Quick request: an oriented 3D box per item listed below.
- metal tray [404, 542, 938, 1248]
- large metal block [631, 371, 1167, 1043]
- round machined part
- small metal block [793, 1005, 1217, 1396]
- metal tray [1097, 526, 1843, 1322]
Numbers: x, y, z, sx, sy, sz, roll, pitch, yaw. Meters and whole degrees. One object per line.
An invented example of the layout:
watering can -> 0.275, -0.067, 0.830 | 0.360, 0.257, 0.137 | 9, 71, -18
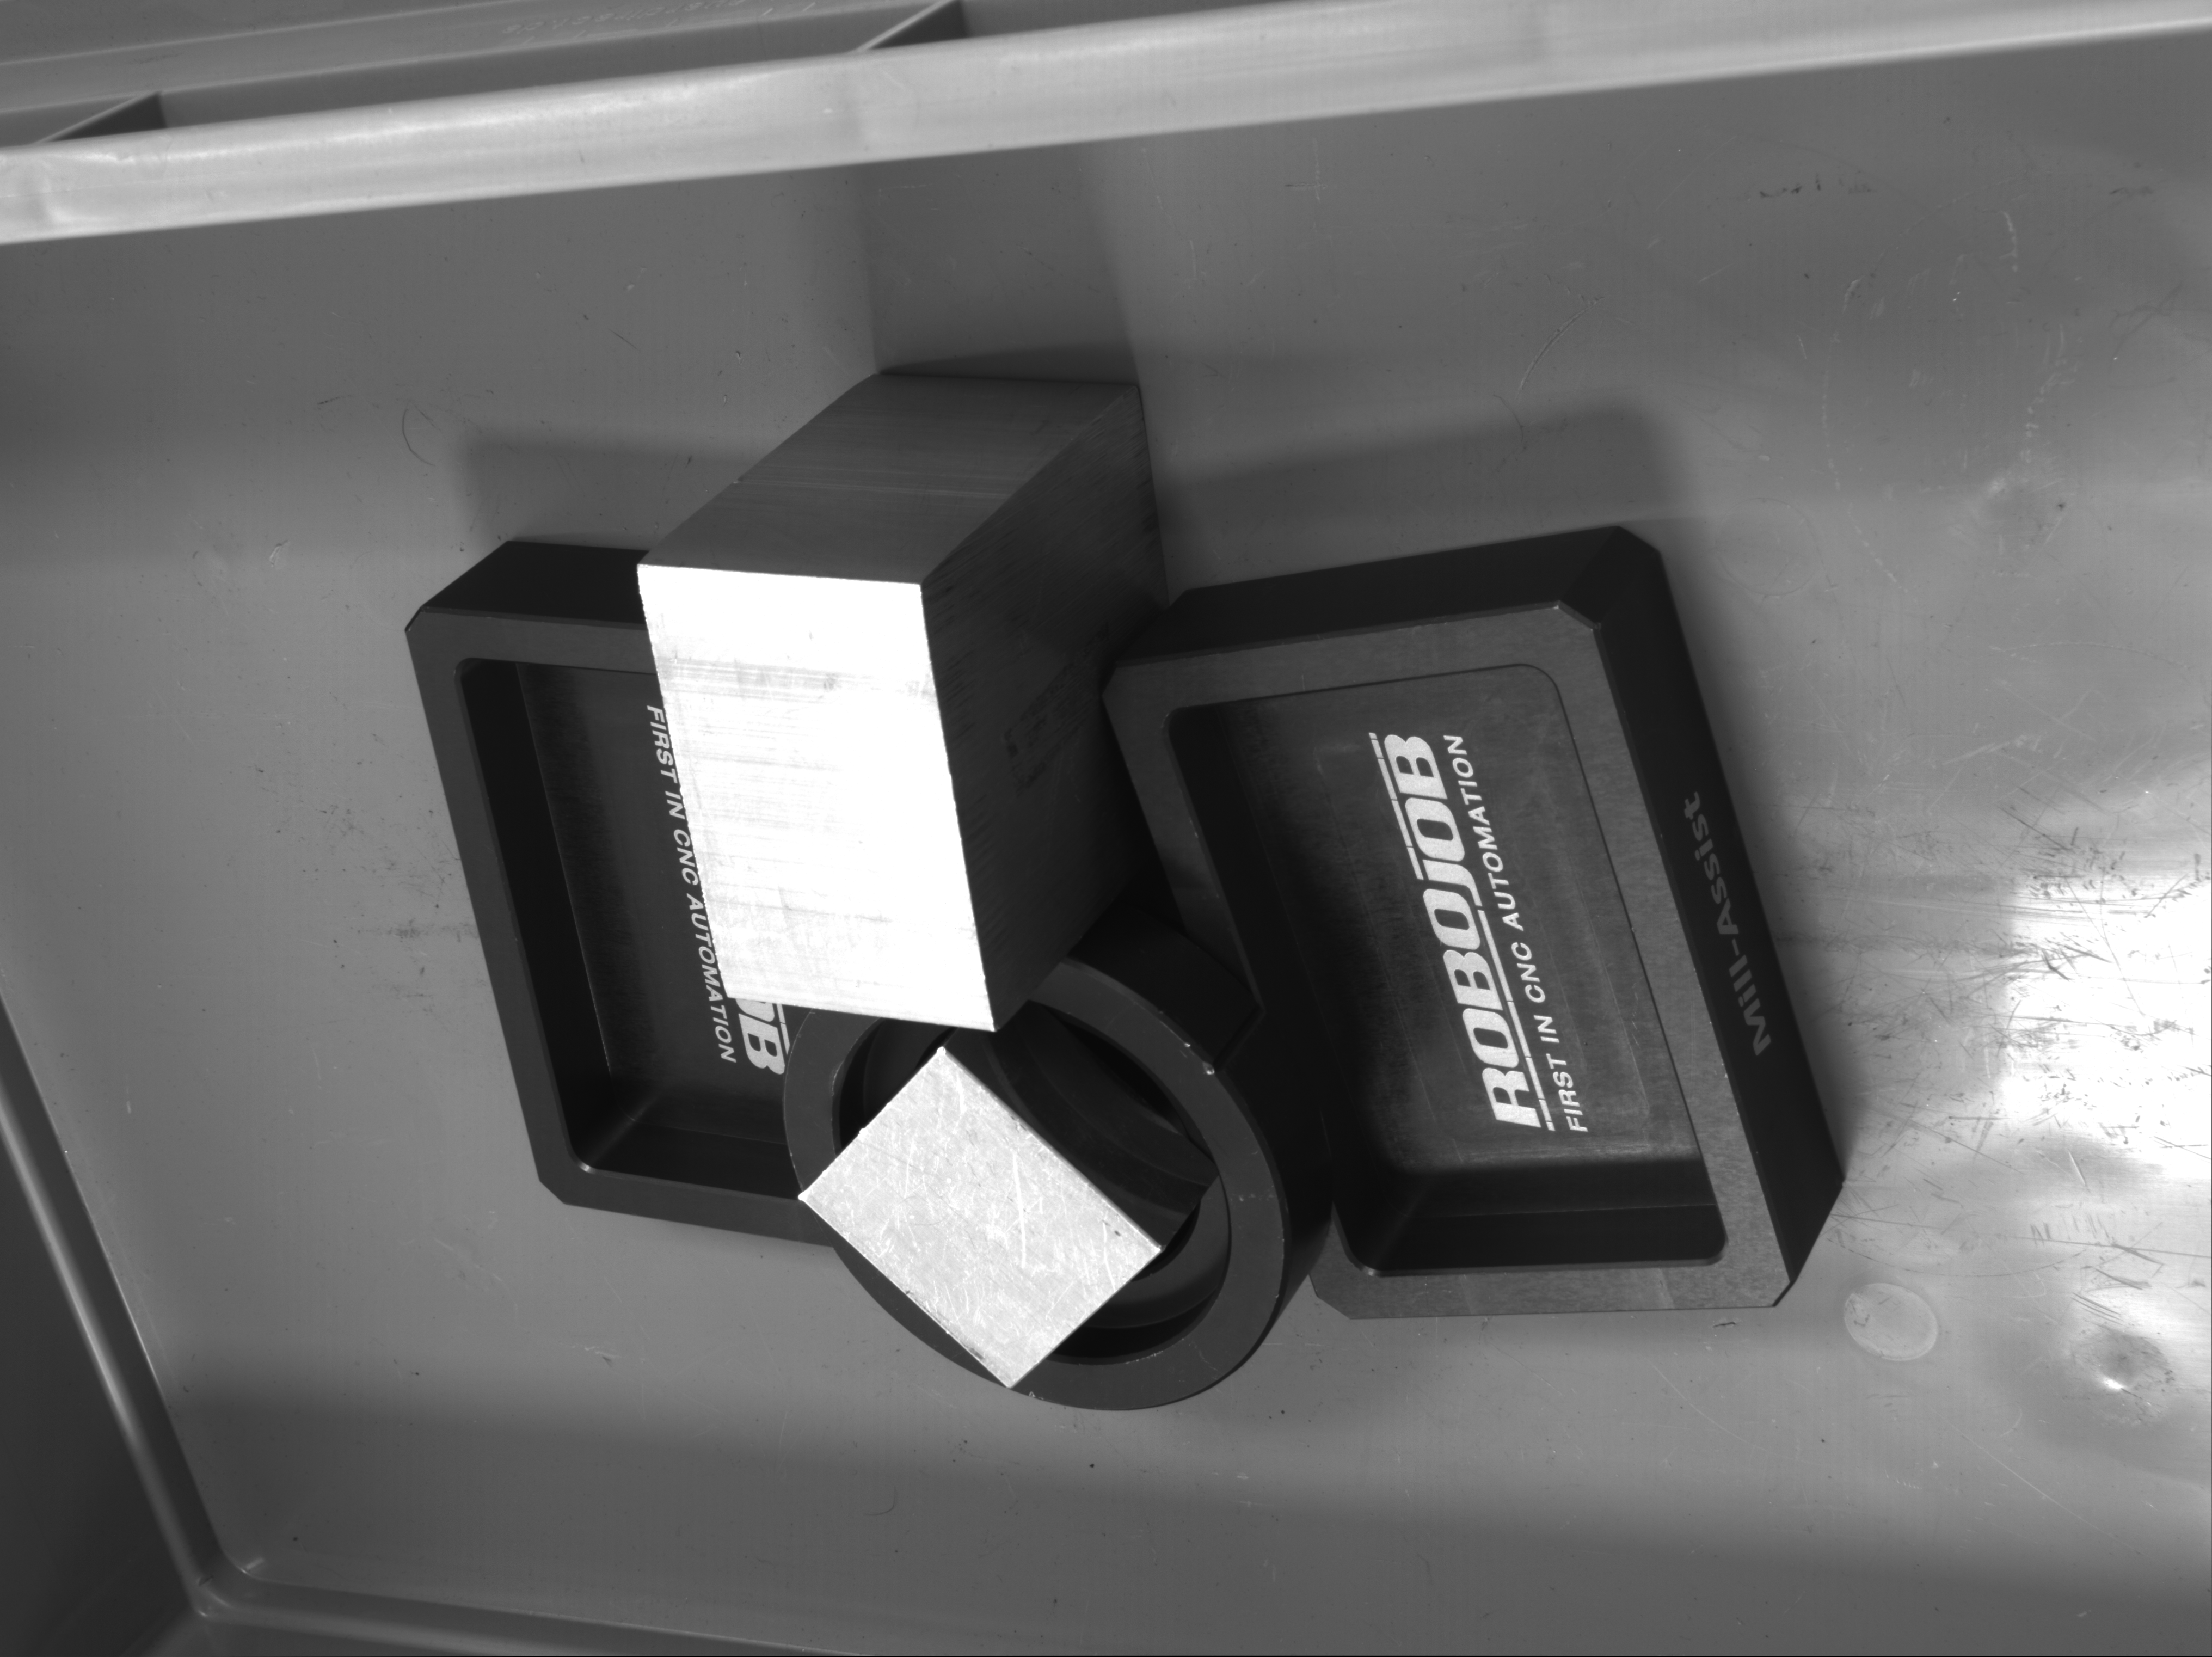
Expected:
metal tray -> -0.073, 0.014, 0.685 | 0.090, 0.030, 0.130 | 6, 121, 25
large metal block -> -0.029, -0.022, 0.608 | 0.050, 0.080, 0.080 | 6, 121, 25
round machined part -> -0.005, 0.052, 0.652 | 0.098, 0.042, 0.098 | 13, 124, 21
small metal block -> -0.018, 0.062, 0.634 | 0.050, 0.025, 0.050 | 43, 129, -1
metal tray -> 0.062, 0.020, 0.616 | 0.090, 0.030, 0.130 | -7, 115, 31
